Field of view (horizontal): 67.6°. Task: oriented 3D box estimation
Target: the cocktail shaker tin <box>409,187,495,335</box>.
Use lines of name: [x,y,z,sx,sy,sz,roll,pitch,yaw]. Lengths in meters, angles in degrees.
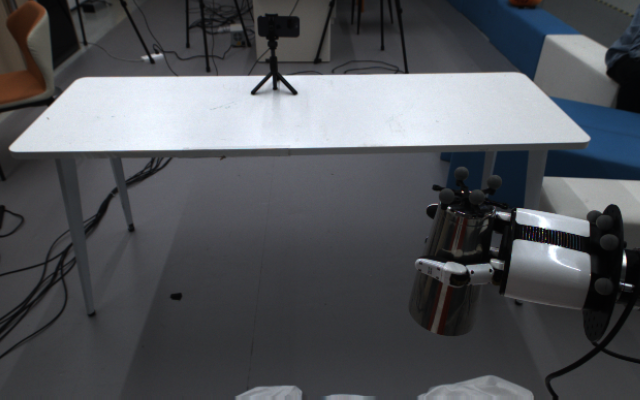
cocktail shaker tin: [0.174,0.076,0.616,0.093,0.170,0.093,3,30,-2]
